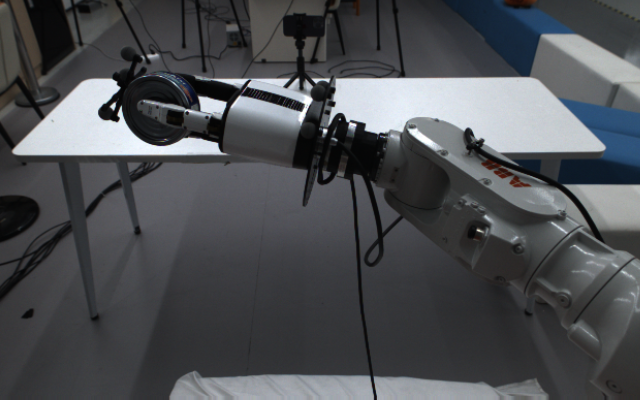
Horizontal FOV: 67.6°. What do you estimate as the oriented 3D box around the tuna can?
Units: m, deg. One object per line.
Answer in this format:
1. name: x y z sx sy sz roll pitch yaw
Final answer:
1. tuna can: -0.188 -0.109 0.581 0.085 0.085 0.034 4 22 2
